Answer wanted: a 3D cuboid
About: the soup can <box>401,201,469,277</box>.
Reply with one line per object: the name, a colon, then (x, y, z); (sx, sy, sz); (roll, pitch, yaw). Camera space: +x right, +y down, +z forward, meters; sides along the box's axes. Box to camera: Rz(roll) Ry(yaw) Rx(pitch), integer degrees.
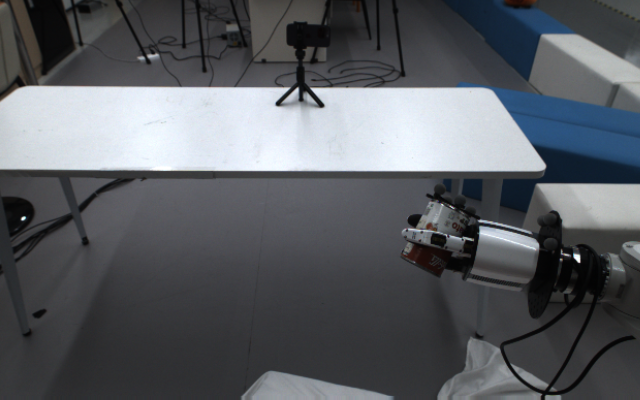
soup can: (0.176, 0.057, 0.735); (0.067, 0.101, 0.067); (28, -3, 1)
